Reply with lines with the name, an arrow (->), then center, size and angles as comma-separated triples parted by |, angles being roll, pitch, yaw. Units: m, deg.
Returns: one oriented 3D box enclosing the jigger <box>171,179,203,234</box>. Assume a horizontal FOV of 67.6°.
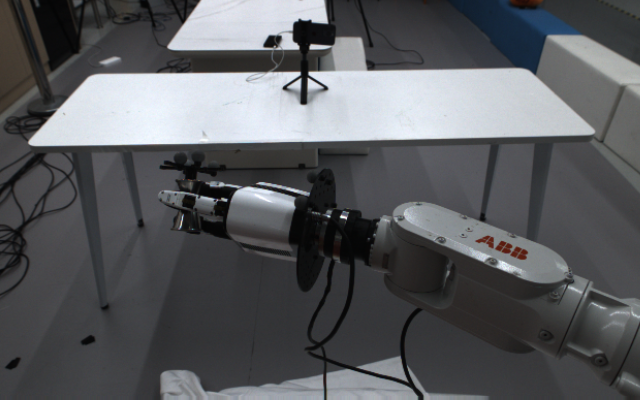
jigger -> -0.177, 0.008, 0.656 | 0.043, 0.071, 0.043 | 2, -6, 0
